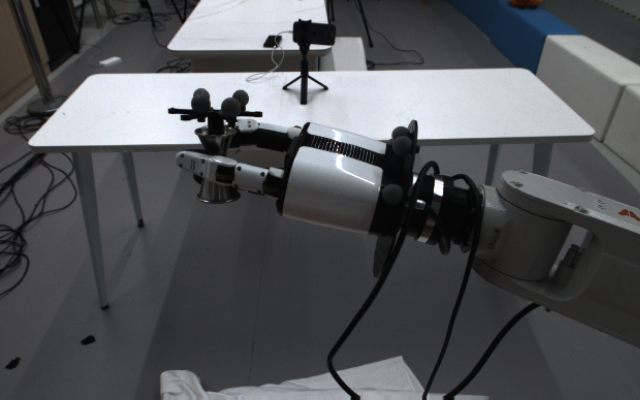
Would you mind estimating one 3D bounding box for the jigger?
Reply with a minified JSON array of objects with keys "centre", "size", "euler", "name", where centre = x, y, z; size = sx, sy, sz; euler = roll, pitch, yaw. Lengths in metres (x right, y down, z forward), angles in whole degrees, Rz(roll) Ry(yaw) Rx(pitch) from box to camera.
[{"centre":[-0.101,-0.036,0.486],"size":[0.043,0.071,0.043],"euler":[1,20,-1],"name":"jigger"}]
